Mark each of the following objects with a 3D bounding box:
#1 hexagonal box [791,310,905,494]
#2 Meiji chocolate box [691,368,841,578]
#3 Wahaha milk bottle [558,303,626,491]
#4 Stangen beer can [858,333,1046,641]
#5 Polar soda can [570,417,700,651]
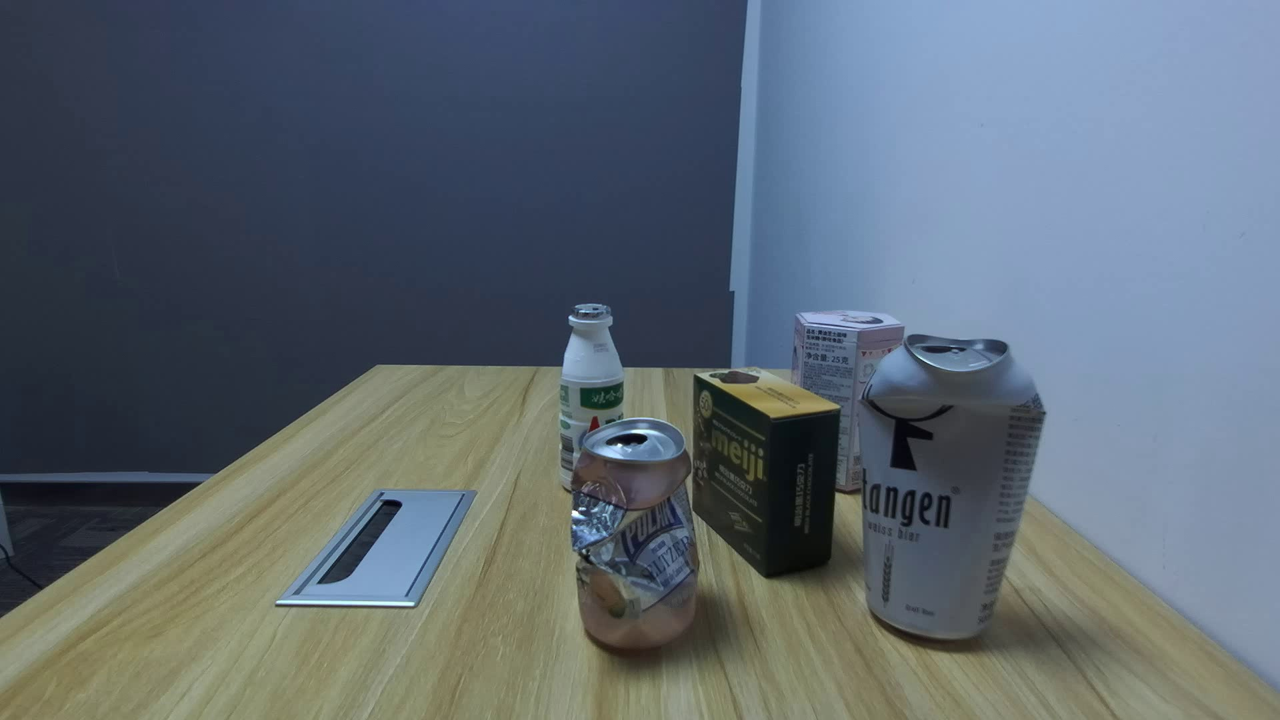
[{"bbox_3d":[0.167,0.031,0.586,0.091,0.136,0.083,-5,14,-25],"label":"hexagonal box"},{"bbox_3d":[0.082,0.071,0.484,0.056,0.109,0.109,-6,16,-21],"label":"Meiji chocolate box"},{"bbox_3d":[-0.039,0.037,0.558,0.053,0.136,0.053,1,12,0],"label":"Wahaha milk bottle"},{"bbox_3d":[0.162,0.069,0.385,0.077,0.162,0.065,-4,15,-17],"label":"Stangen beer can"},{"bbox_3d":[-0.003,0.095,0.384,0.070,0.114,0.074,-7,10,-6],"label":"Polar soda can"}]
